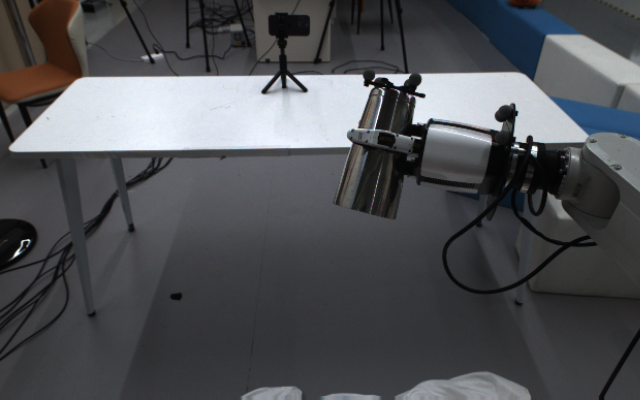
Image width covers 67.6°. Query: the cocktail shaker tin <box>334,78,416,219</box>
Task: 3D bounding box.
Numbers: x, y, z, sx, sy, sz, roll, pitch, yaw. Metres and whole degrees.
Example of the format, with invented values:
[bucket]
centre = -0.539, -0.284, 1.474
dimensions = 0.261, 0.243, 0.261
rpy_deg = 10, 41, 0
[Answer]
[cocktail shaker tin]
centre = 0.082, -0.067, 0.684
dimensions = 0.093, 0.170, 0.093
rpy_deg = 14, 2, 0
